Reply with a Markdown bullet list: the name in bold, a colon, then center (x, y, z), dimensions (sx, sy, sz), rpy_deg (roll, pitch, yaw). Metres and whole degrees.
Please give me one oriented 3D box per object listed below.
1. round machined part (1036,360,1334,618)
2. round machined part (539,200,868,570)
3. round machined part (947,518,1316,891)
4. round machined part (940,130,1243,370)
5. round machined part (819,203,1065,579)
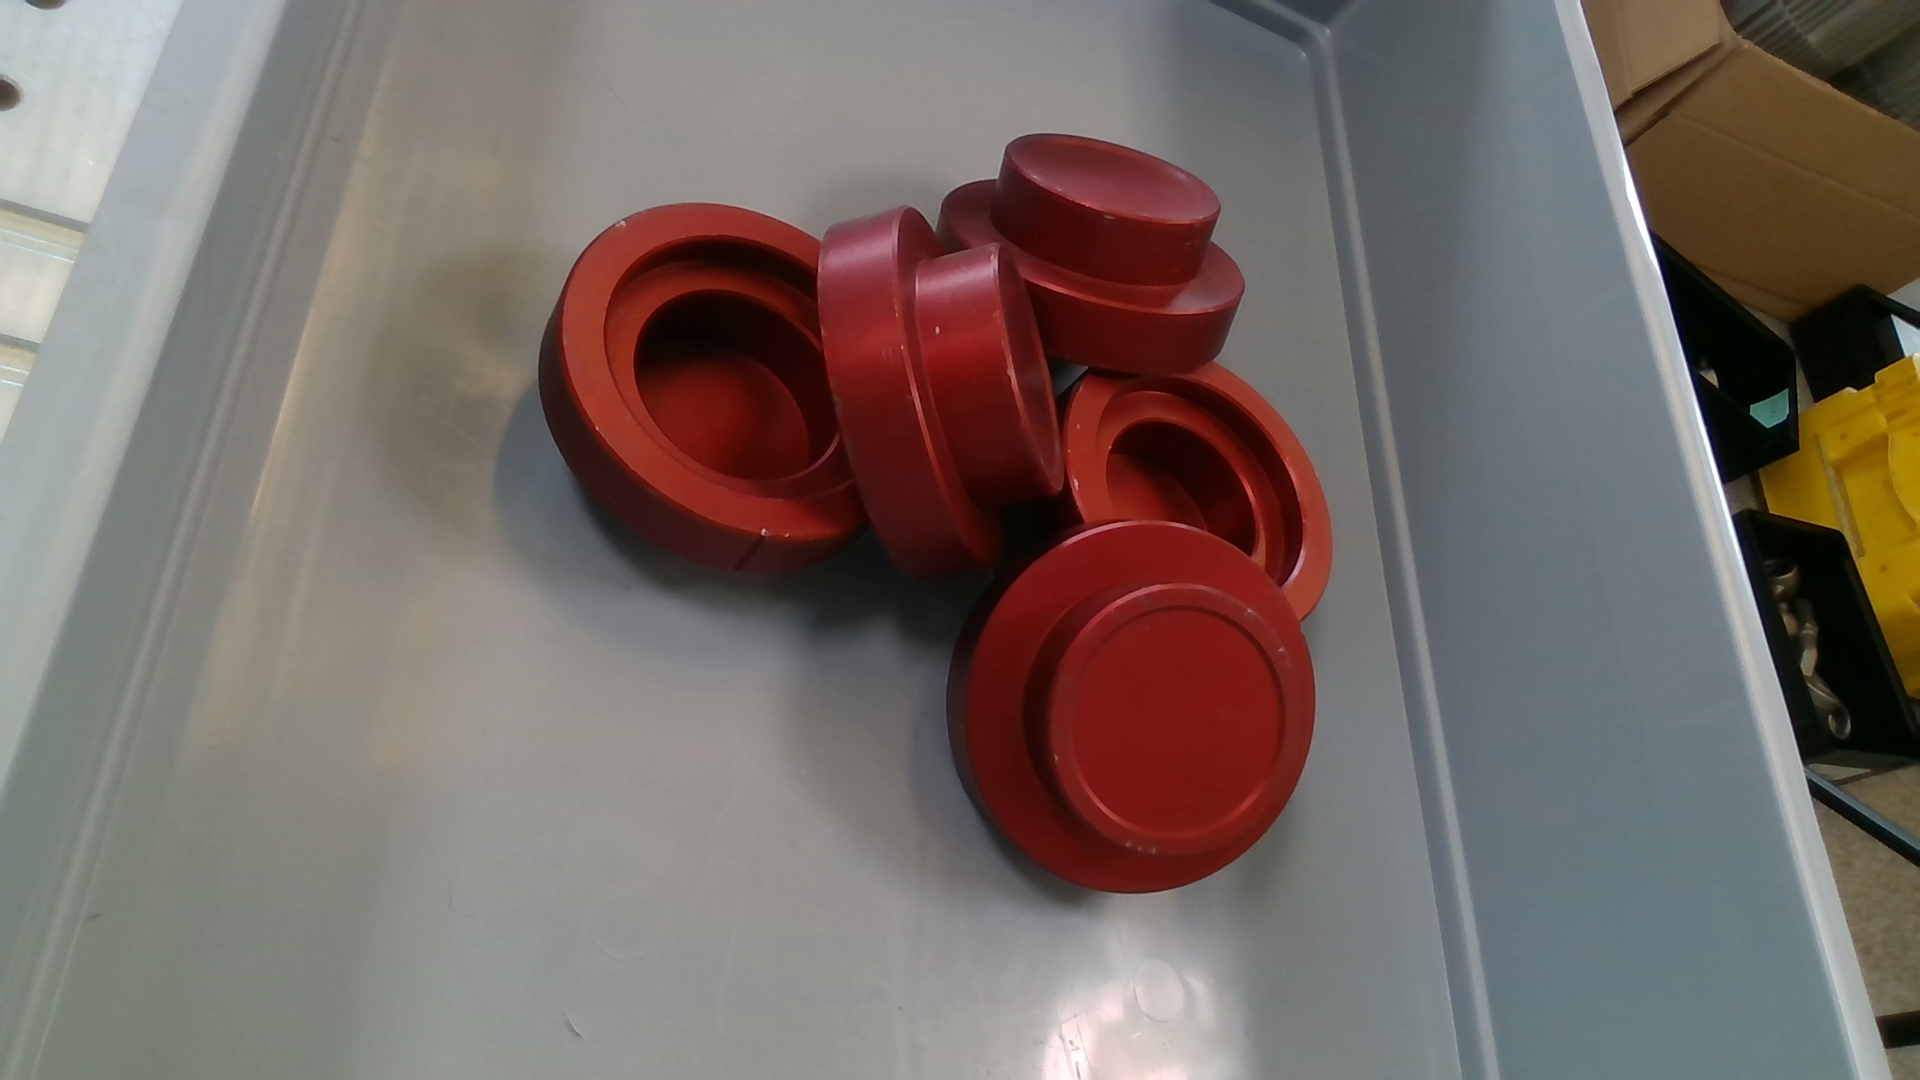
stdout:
- **round machined part**: center (0.063, -0.008, 0.423), dimensions (0.098, 0.042, 0.098), rpy_deg (14, 59, -25)
- **round machined part**: center (-0.061, -0.037, 0.362), dimensions (0.098, 0.042, 0.098), rpy_deg (14, 59, -25)
- **round machined part**: center (0.049, 0.043, 0.359), dimensions (0.098, 0.042, 0.098), rpy_deg (-1, 93, -14)
- **round machined part**: center (0.042, -0.095, 0.429), dimensions (0.098, 0.042, 0.098), rpy_deg (12, 33, -8)
- **round machined part**: center (0.000, -0.042, 0.366), dimensions (0.042, 0.098, 0.098), rpy_deg (-12, 64, 12)
